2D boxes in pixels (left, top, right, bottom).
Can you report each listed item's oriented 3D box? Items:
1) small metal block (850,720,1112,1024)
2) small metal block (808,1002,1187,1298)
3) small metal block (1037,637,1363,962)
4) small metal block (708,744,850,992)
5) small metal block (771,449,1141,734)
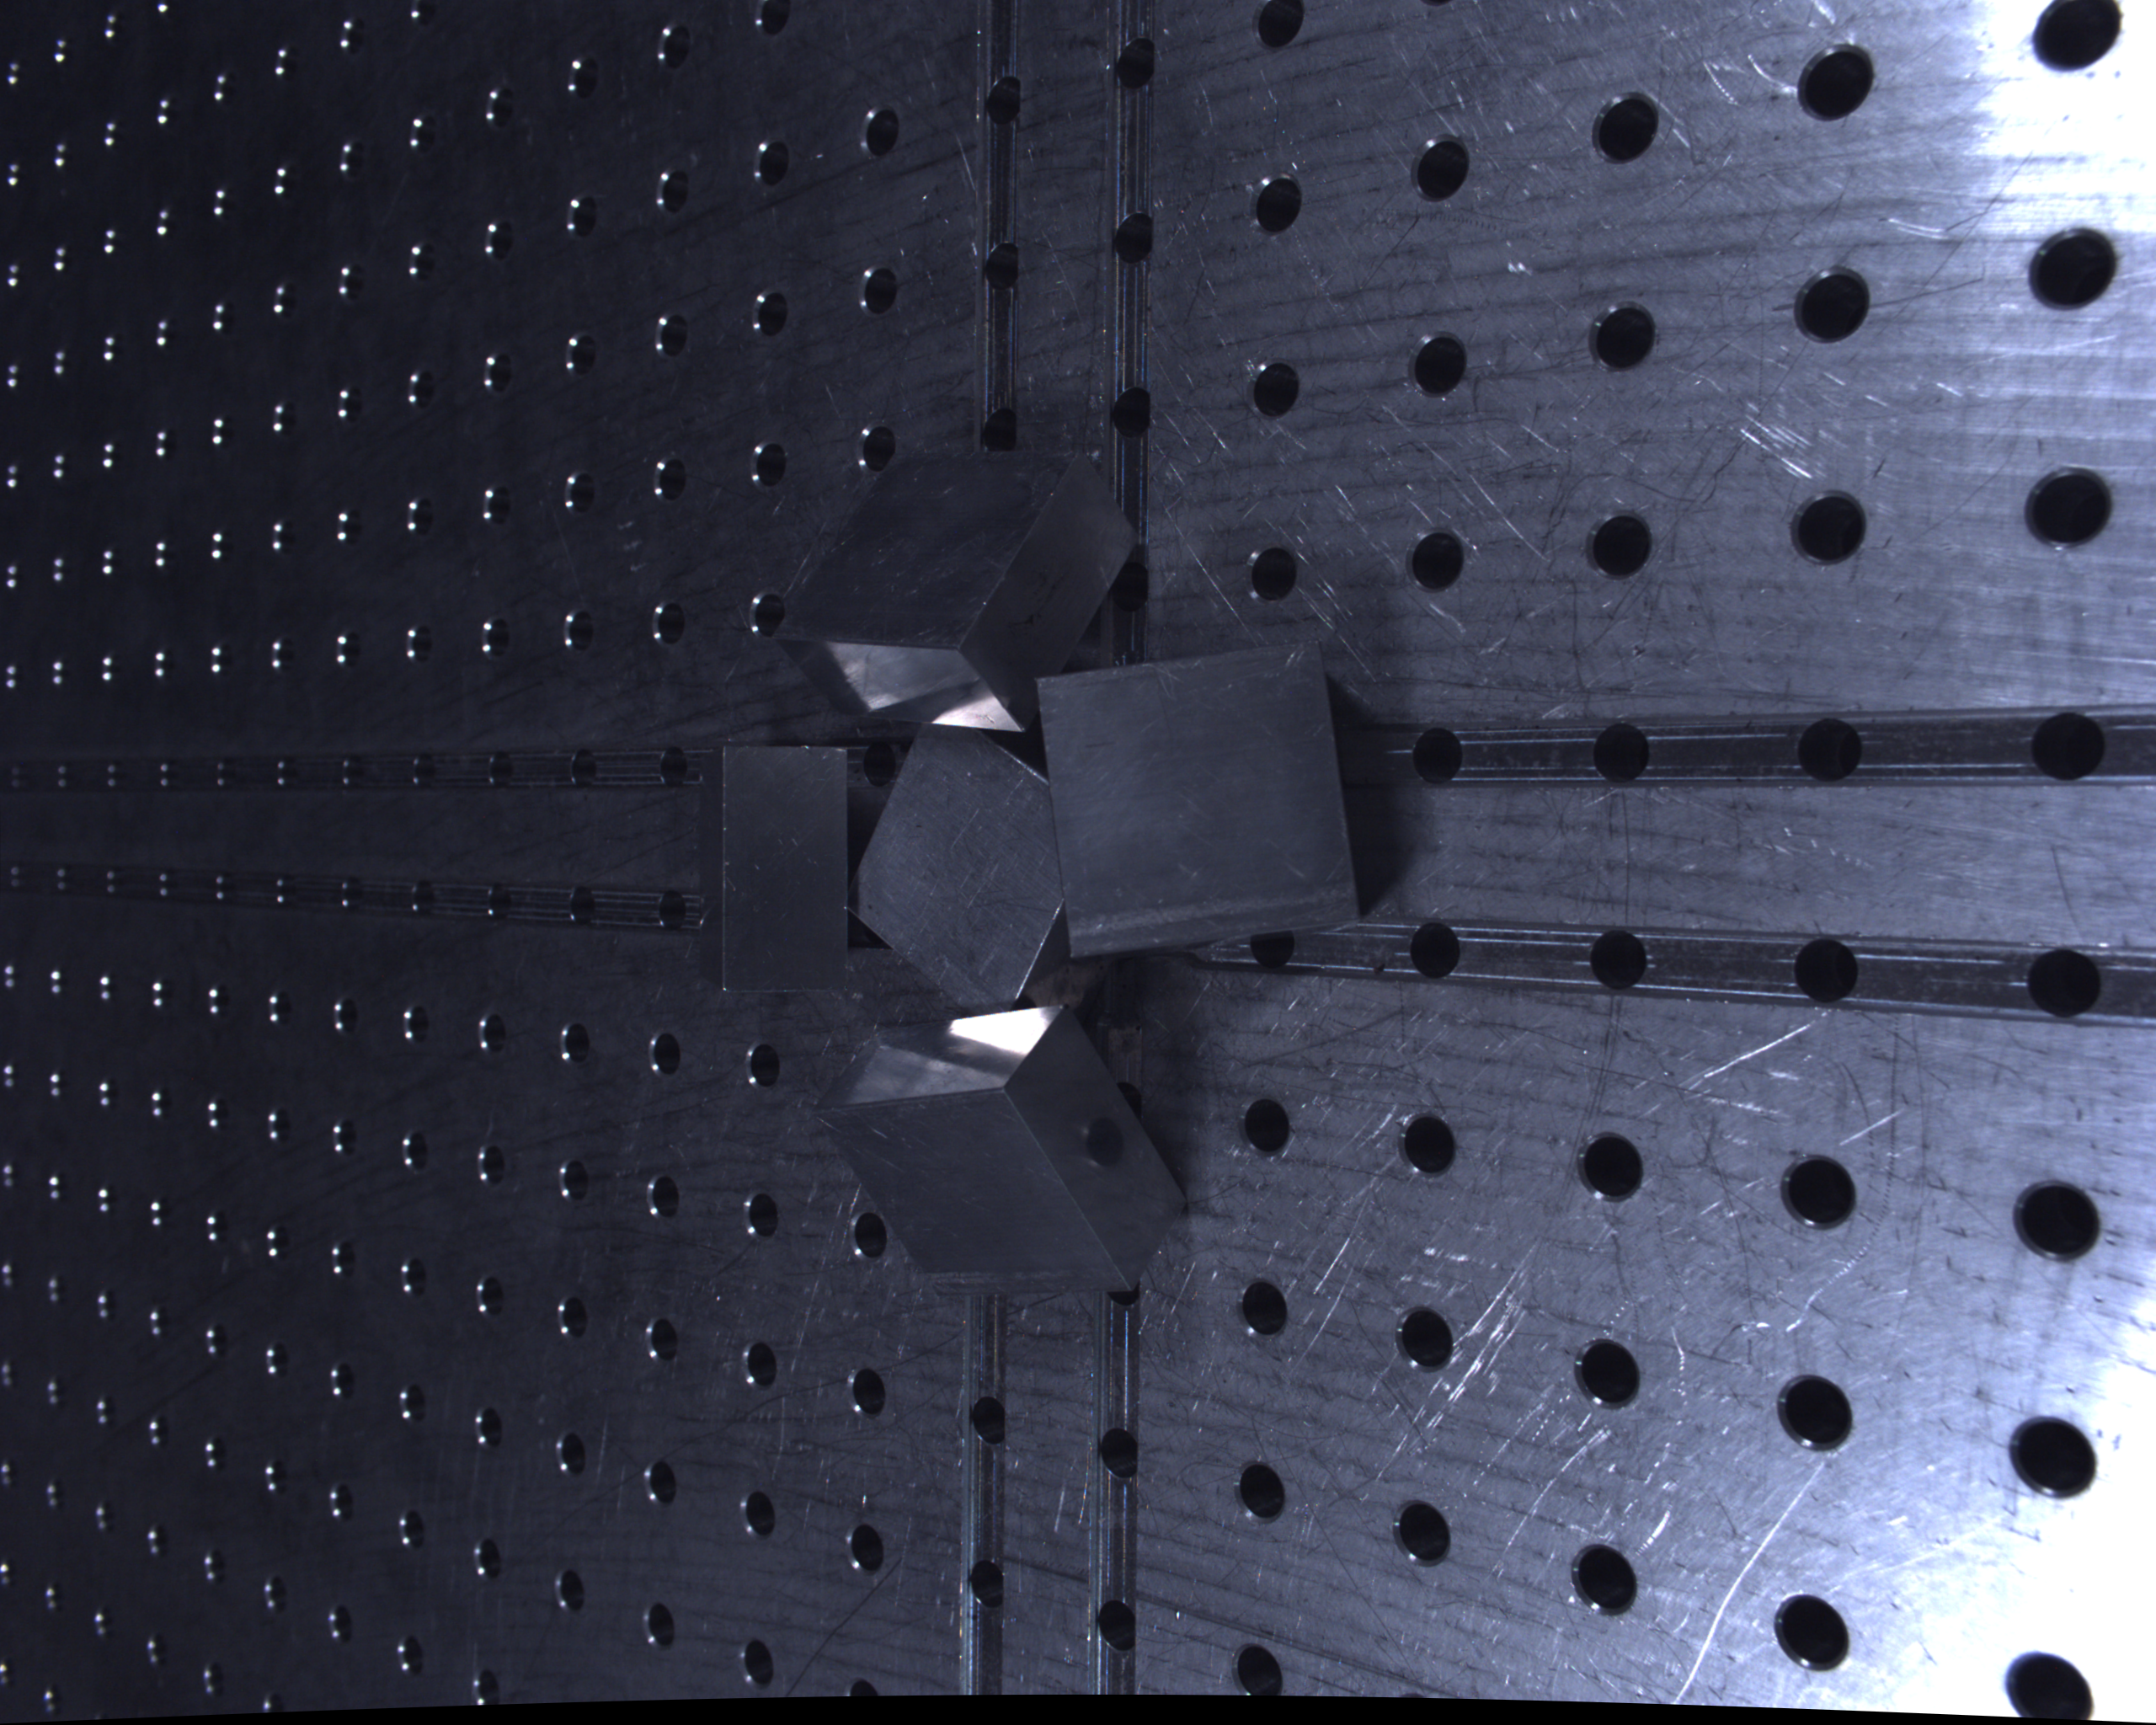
[{"bbox_3d":[-0.014,0.000,0.419,0.050,0.025,0.050,38,113,33],"label":"small metal block"},{"bbox_3d":[-0.015,0.057,0.404,0.050,0.025,0.050,-11,119,39],"label":"small metal block"},{"bbox_3d":[0.022,-0.010,0.374,0.050,0.025,0.050,-8,84,4],"label":"small metal block"},{"bbox_3d":[-0.065,0.001,0.446,0.050,0.025,0.050,180,90,-74],"label":"small metal block"},{"bbox_3d":[-0.024,-0.054,0.411,0.050,0.025,0.050,8,59,39],"label":"small metal block"}]
